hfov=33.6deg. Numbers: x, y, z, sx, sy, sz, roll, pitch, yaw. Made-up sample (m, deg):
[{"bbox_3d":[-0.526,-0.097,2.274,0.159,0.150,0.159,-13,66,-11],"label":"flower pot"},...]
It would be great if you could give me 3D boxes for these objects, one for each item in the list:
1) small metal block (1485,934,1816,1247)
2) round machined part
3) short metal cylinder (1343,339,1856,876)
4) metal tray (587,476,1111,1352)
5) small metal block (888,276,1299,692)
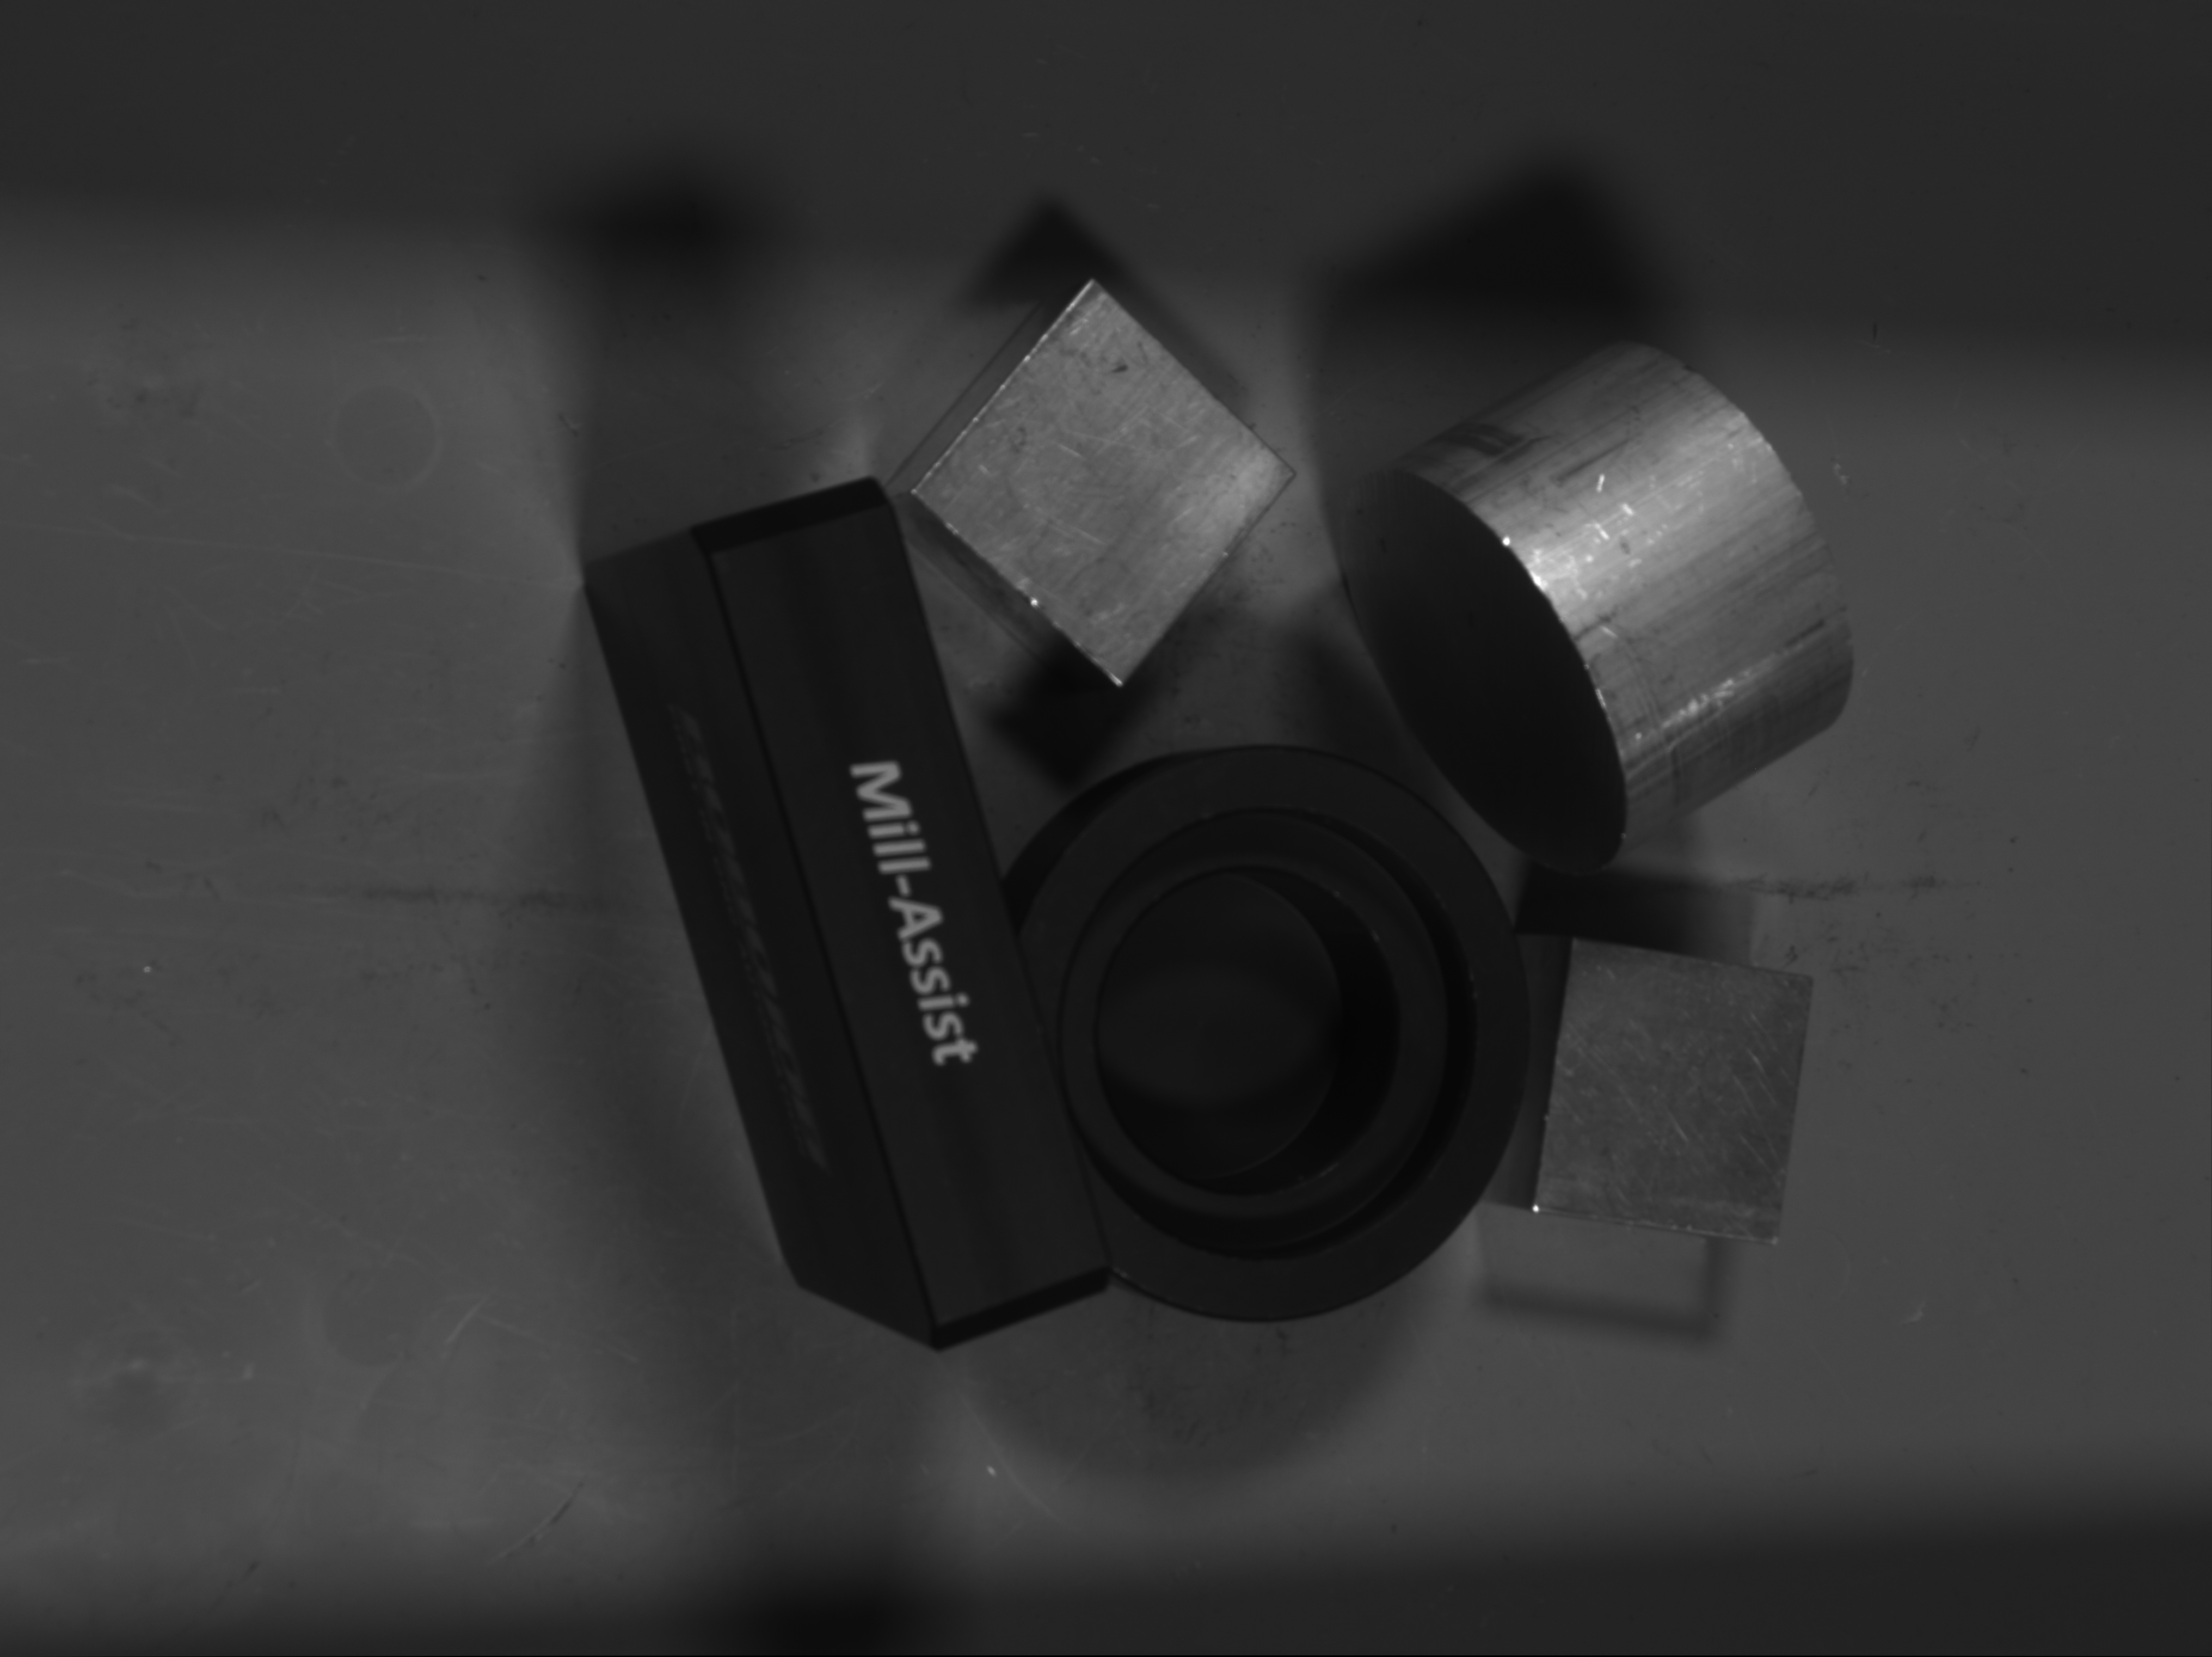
[{"bbox_3d":[0.100,0.048,0.678,0.050,0.025,0.050,10,86,-18],"label":"small metal block"},{"bbox_3d":[0.021,0.035,0.639,0.098,0.042,0.098,0,90,-20],"label":"round machined part"},{"bbox_3d":[0.086,-0.039,0.644,0.050,0.080,0.080,-30,100,-17],"label":"short metal cylinder"},{"bbox_3d":[-0.044,0.013,0.592,0.030,0.090,0.130,-18,96,-18],"label":"metal tray"},{"bbox_3d":[-0.004,-0.059,0.641,0.050,0.025,0.050,42,77,-14],"label":"small metal block"}]
